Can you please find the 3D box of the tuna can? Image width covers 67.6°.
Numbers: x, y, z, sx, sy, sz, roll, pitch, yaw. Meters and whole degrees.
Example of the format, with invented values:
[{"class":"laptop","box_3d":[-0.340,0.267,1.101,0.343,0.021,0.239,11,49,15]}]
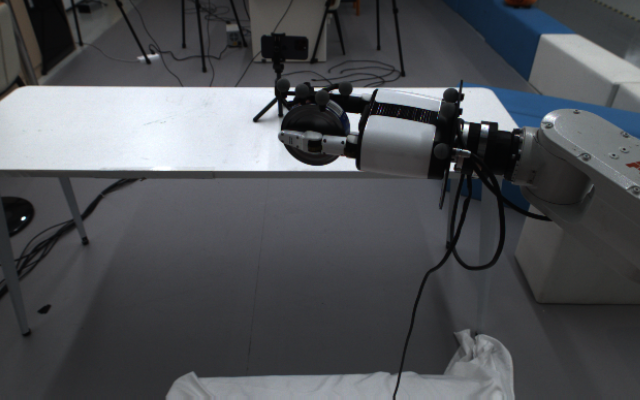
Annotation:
[{"class":"tuna can","box_3d":[-0.005,-0.091,0.625,0.085,0.085,0.034,10,34,12]}]
